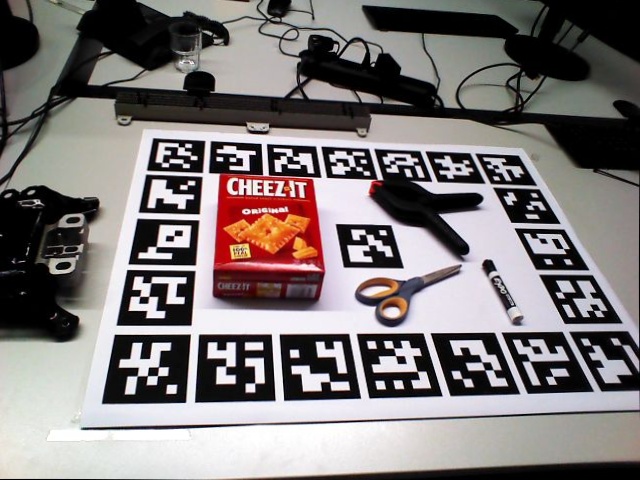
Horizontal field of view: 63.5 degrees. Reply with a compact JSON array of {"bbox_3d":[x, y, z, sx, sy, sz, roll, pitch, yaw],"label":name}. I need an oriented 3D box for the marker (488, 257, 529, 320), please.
[{"bbox_3d":[0.299,0.074,0.828,0.019,0.020,0.120,-2,45,-11],"label":"marker"}]

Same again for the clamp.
[{"bbox_3d":[0.188,-0.060,0.952,0.203,0.037,0.164,23,45,12],"label":"clamp"}]

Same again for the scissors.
[{"bbox_3d":[0.158,0.069,0.811,0.202,0.016,0.088,-21,51,-30],"label":"scissors"}]

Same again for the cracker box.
[{"bbox_3d":[-0.077,-0.010,0.814,0.164,0.072,0.212,2,45,-8],"label":"cracker box"}]
